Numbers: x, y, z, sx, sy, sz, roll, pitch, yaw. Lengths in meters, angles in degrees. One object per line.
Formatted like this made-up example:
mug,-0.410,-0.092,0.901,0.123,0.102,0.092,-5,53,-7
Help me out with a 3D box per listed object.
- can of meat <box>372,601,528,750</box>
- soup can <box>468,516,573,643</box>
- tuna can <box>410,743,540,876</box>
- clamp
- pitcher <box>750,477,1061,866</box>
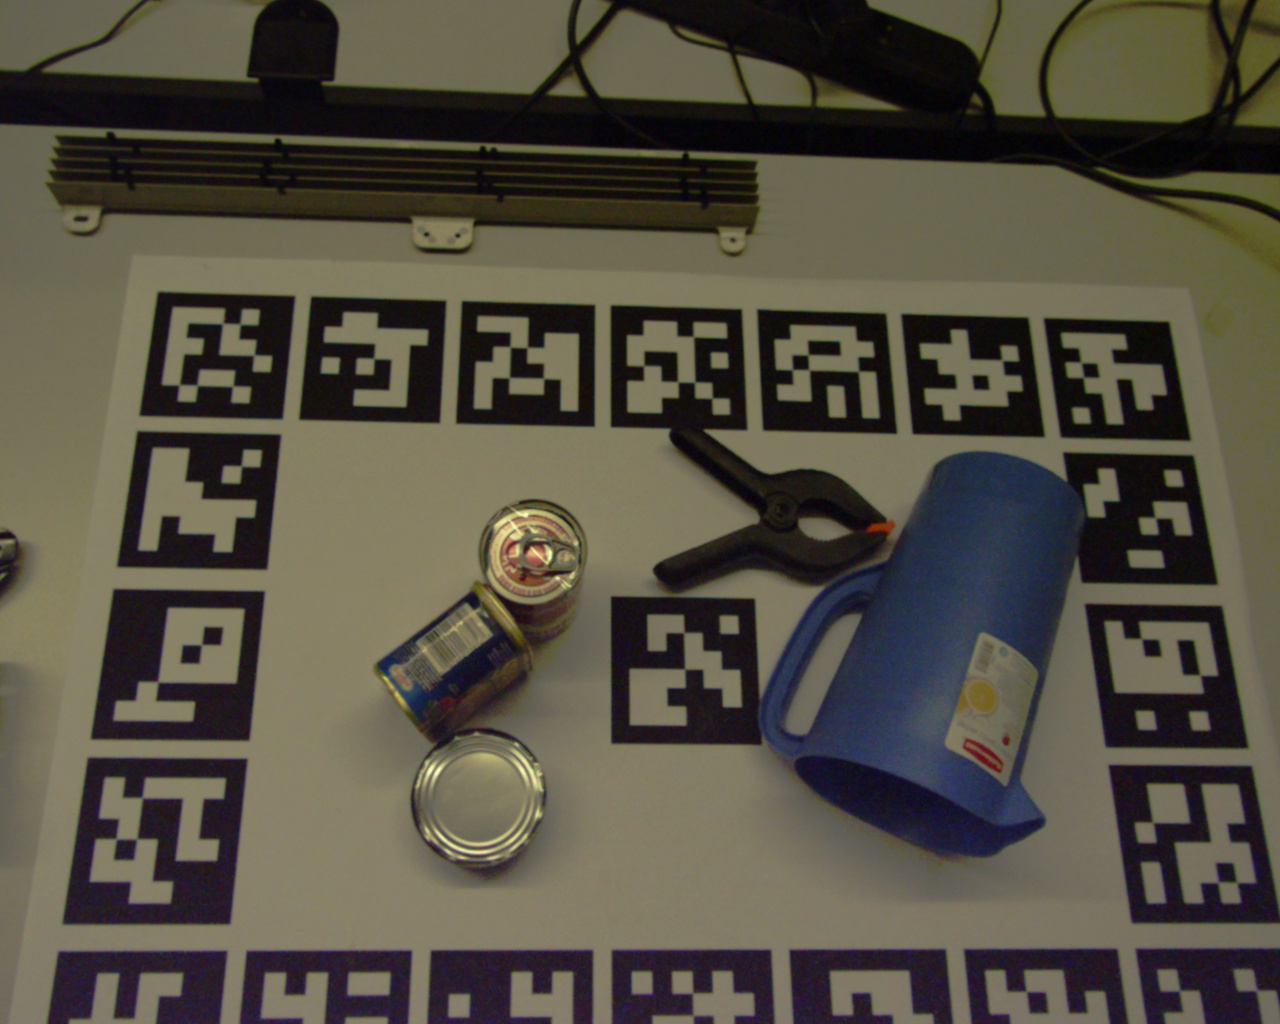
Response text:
can of meat,-0.126,0.112,0.760,0.083,0.102,0.058,-35,78,-11
soup can,-0.080,0.049,0.789,0.068,0.102,0.068,0,73,-2
tuna can,-0.110,0.201,0.769,0.085,0.034,0.086,1,73,-3
clamp,0.072,0.010,0.855,0.164,0.036,0.122,4,67,-6
pitcher,0.190,0.098,0.768,0.191,0.132,0.242,13,62,24
